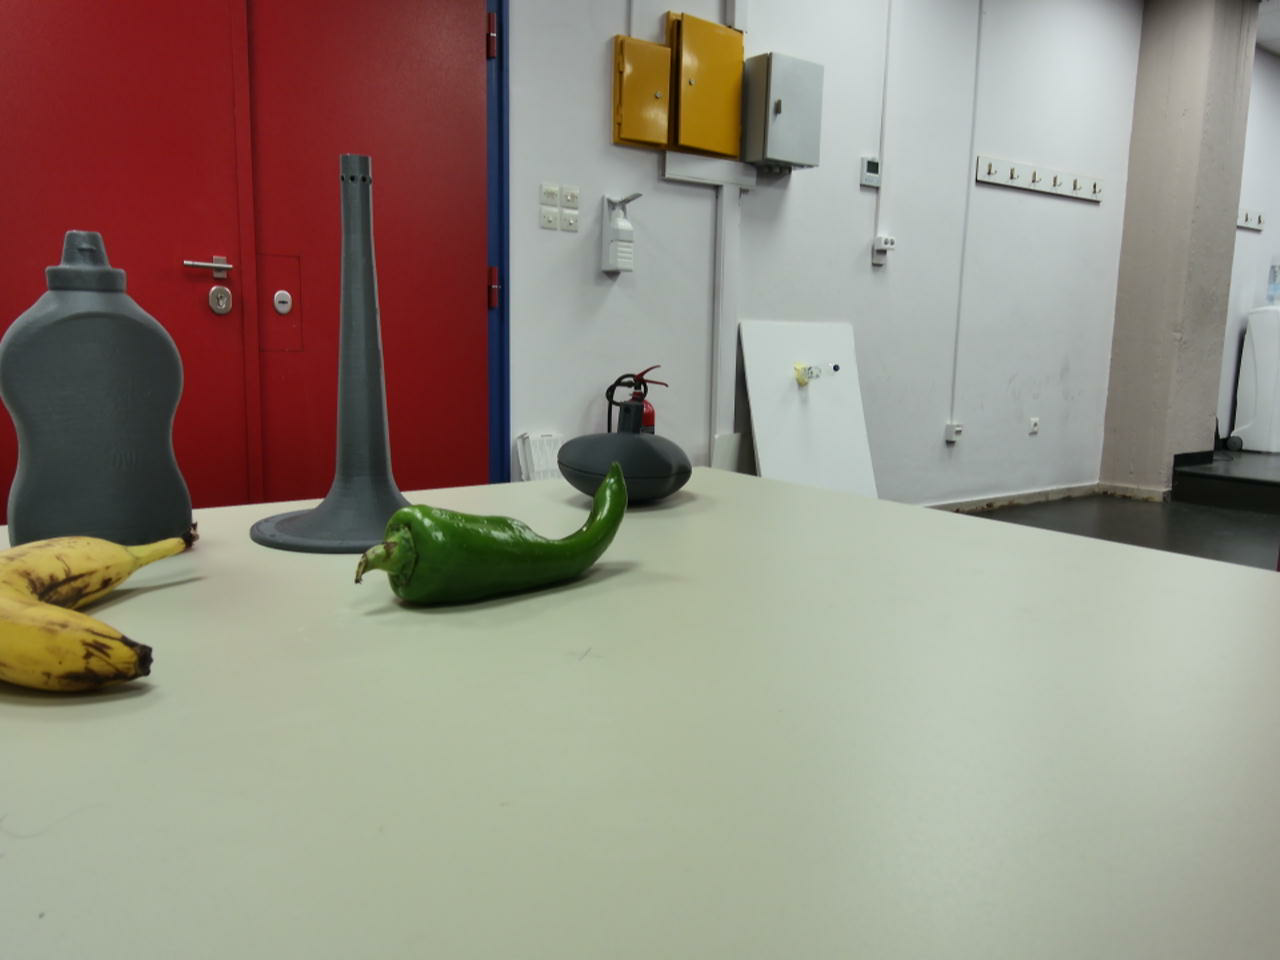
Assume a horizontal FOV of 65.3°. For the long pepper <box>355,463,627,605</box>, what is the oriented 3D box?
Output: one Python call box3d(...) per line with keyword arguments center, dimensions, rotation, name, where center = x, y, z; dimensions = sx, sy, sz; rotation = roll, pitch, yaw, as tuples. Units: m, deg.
box3d(center=(-0.072, 0.028, 0.544), dimensions=(0.175, 0.065, 0.058), rotation=(-5, 8, -39), name="long pepper")
